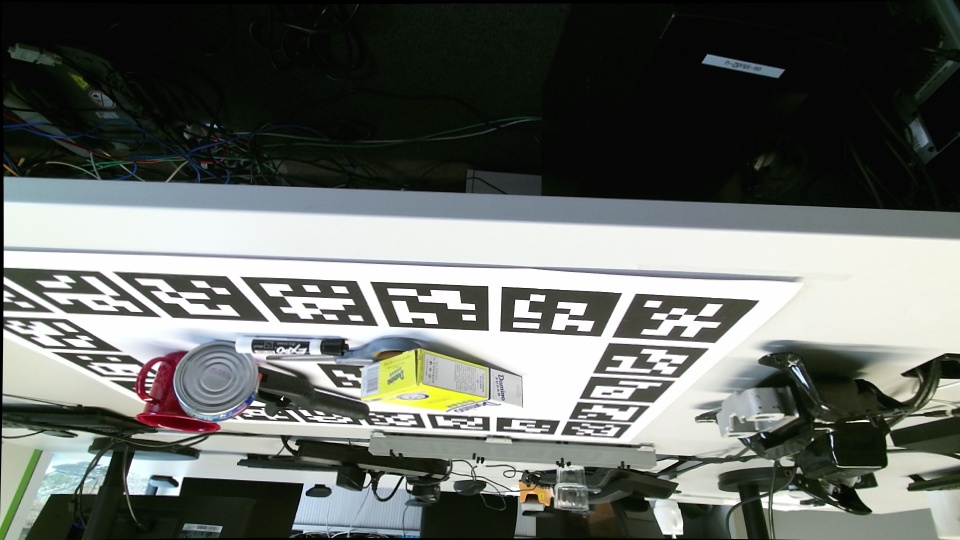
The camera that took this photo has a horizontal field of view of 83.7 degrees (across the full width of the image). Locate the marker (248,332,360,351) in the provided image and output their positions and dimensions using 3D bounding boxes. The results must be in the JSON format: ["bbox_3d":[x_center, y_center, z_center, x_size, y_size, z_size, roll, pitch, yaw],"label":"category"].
[{"bbox_3d":[-0.193,0.079,0.591,0.121,0.019,0.020,1,147,5],"label":"marker"}]

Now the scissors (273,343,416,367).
[{"bbox_3d":[-0.147,0.105,0.623,0.203,0.016,0.088,-2,151,12],"label":"scissors"}]

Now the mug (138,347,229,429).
[{"bbox_3d":[-0.356,0.141,0.656,0.093,0.081,0.117,-12,148,25],"label":"mug"}]

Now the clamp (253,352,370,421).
[{"bbox_3d":[-0.264,0.169,0.746,0.166,0.036,0.203,-2,146,11],"label":"clamp"}]

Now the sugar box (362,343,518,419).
[{"bbox_3d":[-0.041,0.137,0.630,0.093,0.045,0.177,-19,147,33],"label":"sugar box"}]

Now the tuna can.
[{"bbox_3d":[-0.297,0.120,0.606,0.086,0.085,0.034,12,147,-13],"label":"tuna can"}]
